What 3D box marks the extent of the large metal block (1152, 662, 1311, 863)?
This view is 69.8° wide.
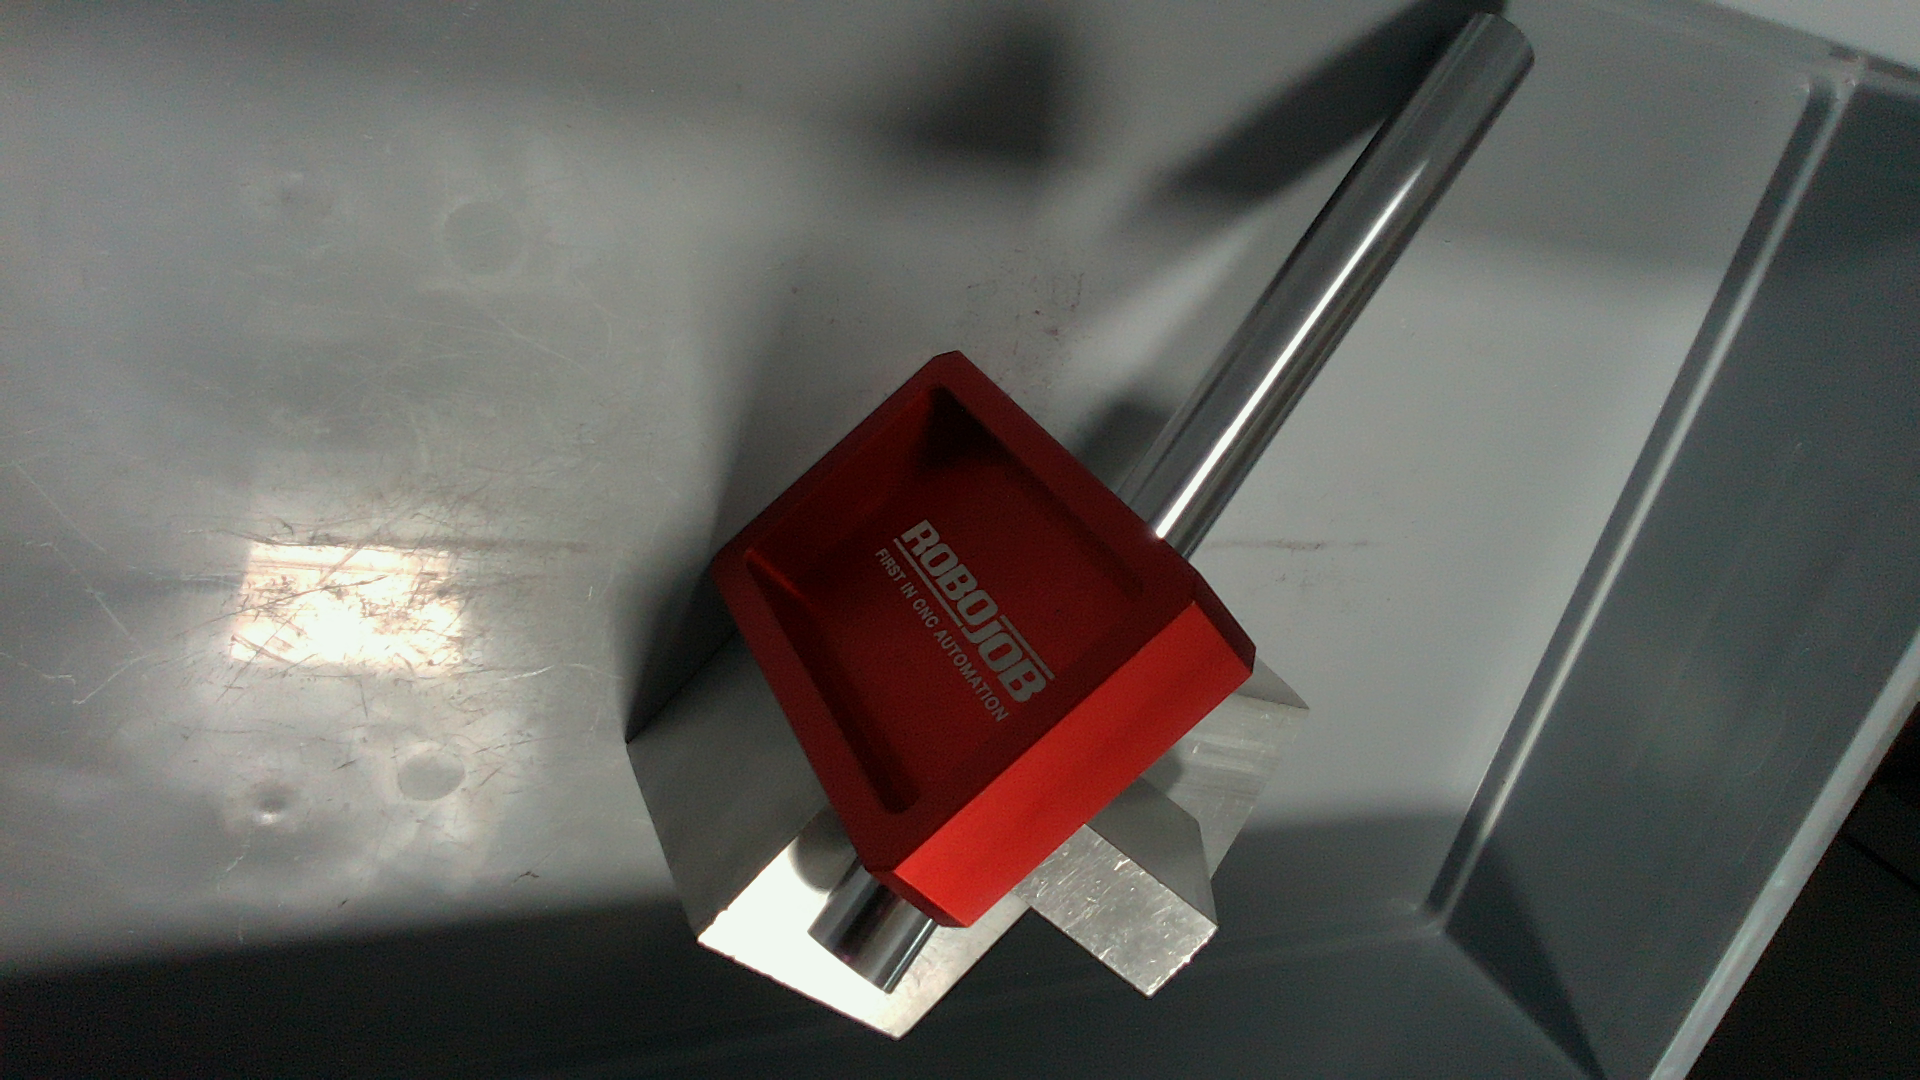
[{"bbox_3d":[0.044,0.057,0.413,0.050,0.080,0.080,14,111,-34],"label":"large metal block"}]

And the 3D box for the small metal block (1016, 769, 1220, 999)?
[{"bbox_3d":[0.035,0.077,0.342,0.050,0.050,0.025,39,107,-7],"label":"small metal block"}]

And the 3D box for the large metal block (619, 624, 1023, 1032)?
[{"bbox_3d":[-0.039,0.077,0.381,0.050,0.080,0.080,-45,129,3],"label":"large metal block"}]

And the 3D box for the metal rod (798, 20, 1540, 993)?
[{"bbox_3d":[0.061,-0.019,0.351,0.300,0.025,0.025,-53,130,-13],"label":"metal rod"}]

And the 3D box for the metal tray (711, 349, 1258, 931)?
[{"bbox_3d":[-0.002,0.016,0.328,0.090,0.130,0.030,-42,128,2],"label":"metal tray"}]
